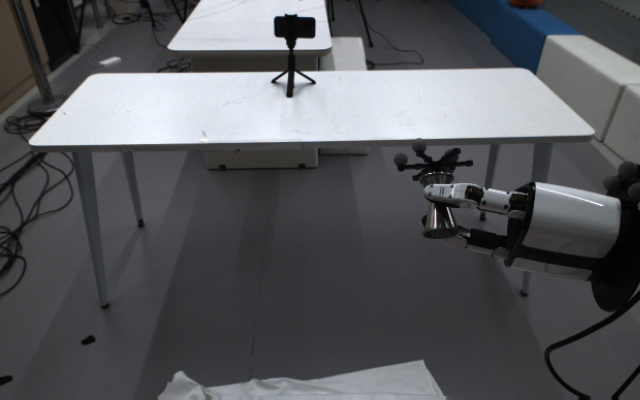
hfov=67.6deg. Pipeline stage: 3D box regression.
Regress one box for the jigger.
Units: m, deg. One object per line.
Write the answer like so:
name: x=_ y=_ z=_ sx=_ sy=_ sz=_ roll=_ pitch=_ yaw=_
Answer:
jigger: x=0.137 y=0.004 z=0.559 sx=0.043 sy=0.043 sz=0.071 roll=1 pitch=70 yaw=-2
